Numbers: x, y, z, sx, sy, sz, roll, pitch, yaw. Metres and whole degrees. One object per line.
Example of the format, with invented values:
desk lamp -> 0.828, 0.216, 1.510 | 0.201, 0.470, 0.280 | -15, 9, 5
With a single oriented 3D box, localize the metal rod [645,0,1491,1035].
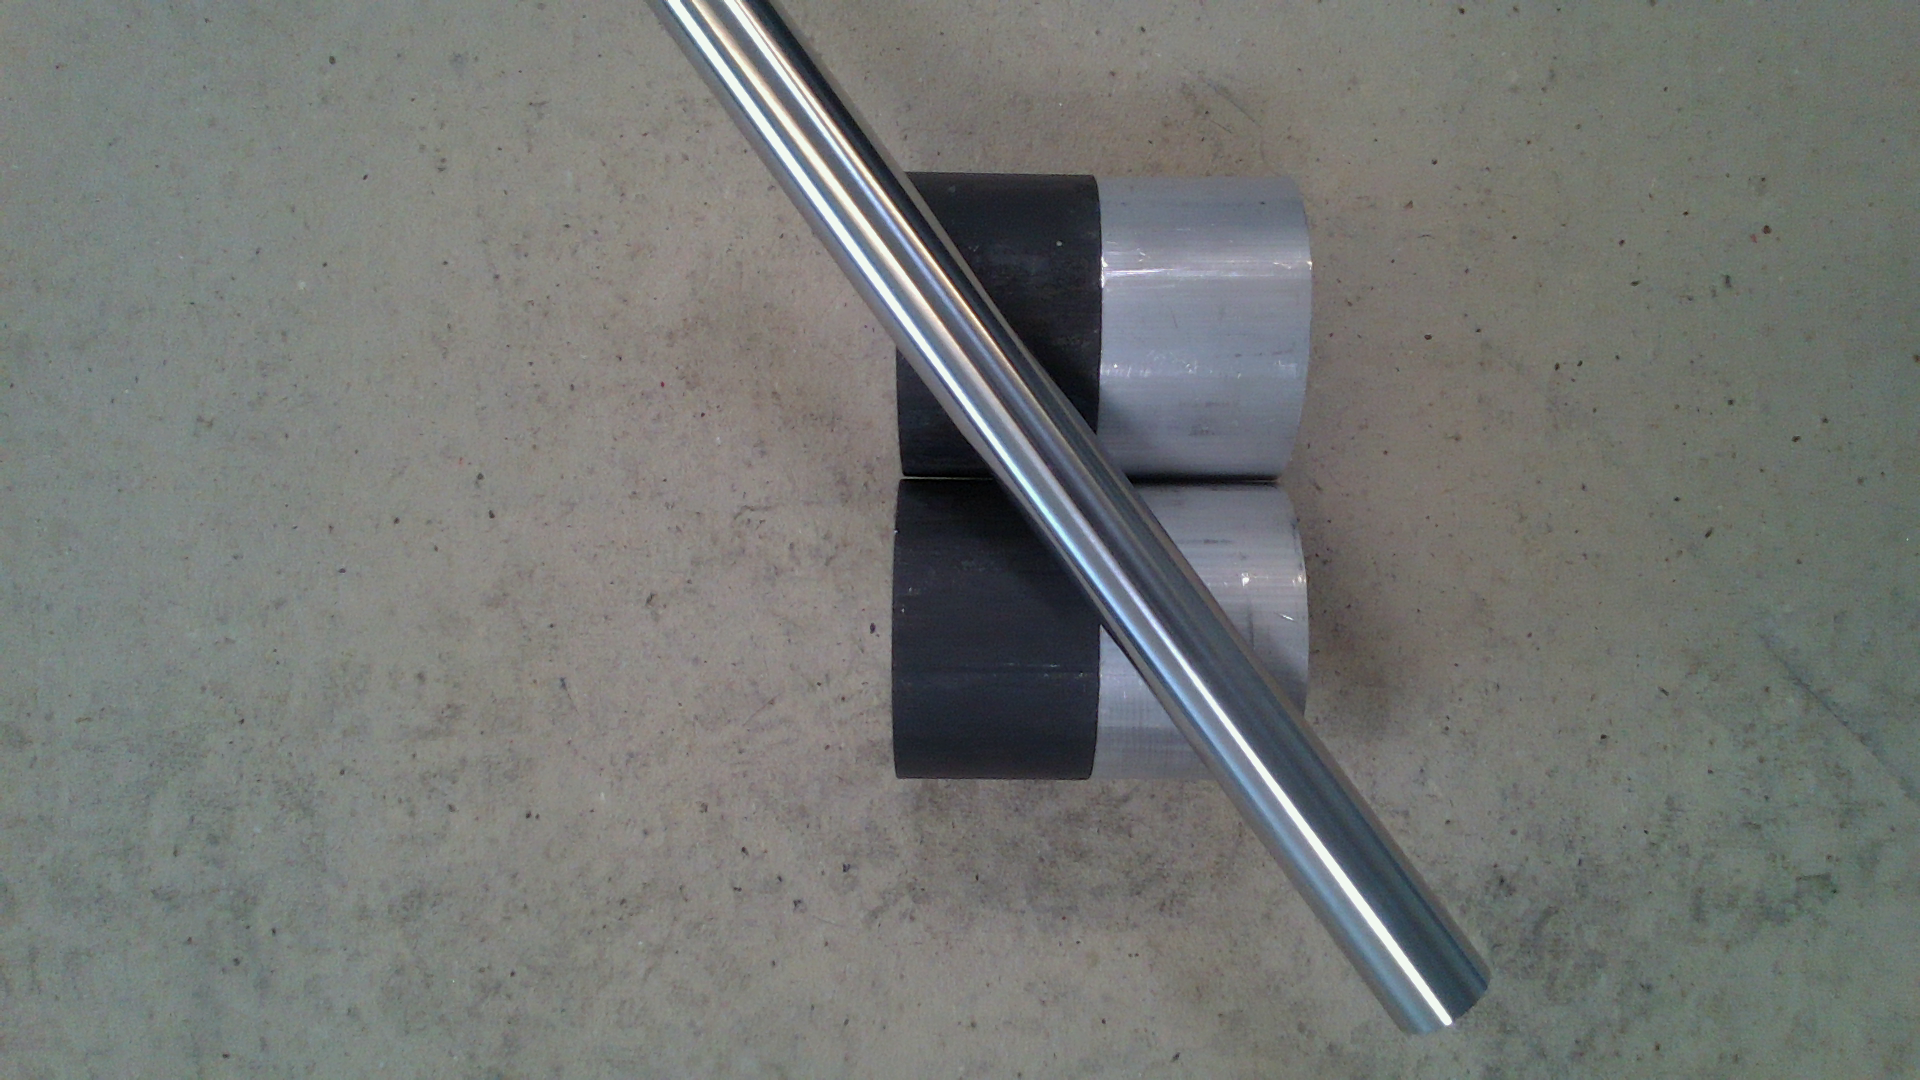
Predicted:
metal rod -> 0.022, -0.016, 0.315 | 0.025, 0.025, 0.300 | -36, 90, 0

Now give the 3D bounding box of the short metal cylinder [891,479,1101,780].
short metal cylinder -> 0.009, 0.024, 0.368 | 0.050, 0.080, 0.080 | 1, 90, 0

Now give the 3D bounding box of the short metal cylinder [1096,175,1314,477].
short metal cylinder -> 0.060, -0.056, 0.368 | 0.050, 0.080, 0.080 | 1, 90, 0

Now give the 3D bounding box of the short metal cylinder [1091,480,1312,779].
short metal cylinder -> 0.059, 0.024, 0.368 | 0.050, 0.080, 0.080 | 1, 90, 0

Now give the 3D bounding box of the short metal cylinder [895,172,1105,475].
short metal cylinder -> 0.010, -0.057, 0.368 | 0.050, 0.080, 0.080 | 1, 90, 0
